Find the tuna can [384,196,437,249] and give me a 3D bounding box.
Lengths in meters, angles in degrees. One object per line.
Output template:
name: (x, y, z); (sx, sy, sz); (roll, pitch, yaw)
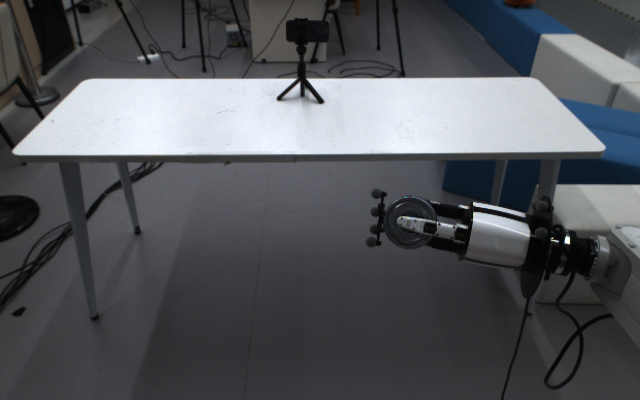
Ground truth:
tuna can: (0.147, 0.037, 0.772); (0.085, 0.085, 0.034); (10, 2, 11)
